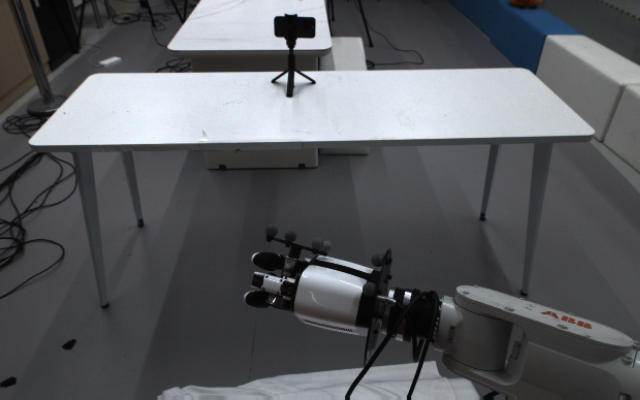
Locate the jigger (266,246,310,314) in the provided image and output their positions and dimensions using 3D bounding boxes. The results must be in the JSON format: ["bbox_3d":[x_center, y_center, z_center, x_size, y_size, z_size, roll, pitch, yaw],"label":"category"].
[{"bbox_3d":[-0.043,0.112,0.672,0.043,0.071,0.043,16,-7,2],"label":"jigger"}]
